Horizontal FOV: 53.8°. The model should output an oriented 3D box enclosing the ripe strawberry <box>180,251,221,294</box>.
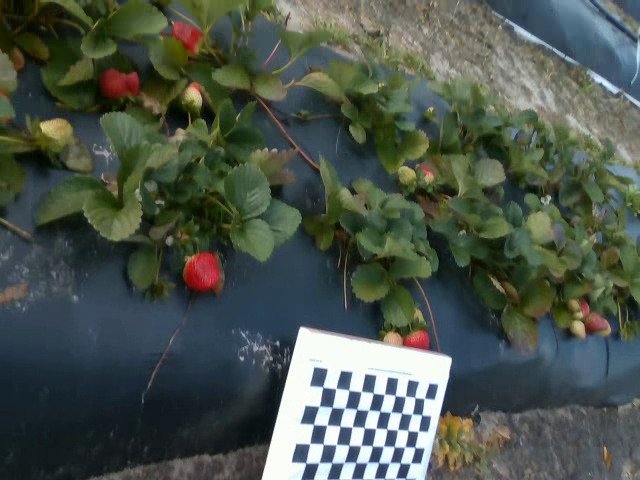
[{"bbox_3d":[-0.145,0.043,0.773,0.050,0.049,0.053,8,24,-43],"label":"ripe strawberry"}]
